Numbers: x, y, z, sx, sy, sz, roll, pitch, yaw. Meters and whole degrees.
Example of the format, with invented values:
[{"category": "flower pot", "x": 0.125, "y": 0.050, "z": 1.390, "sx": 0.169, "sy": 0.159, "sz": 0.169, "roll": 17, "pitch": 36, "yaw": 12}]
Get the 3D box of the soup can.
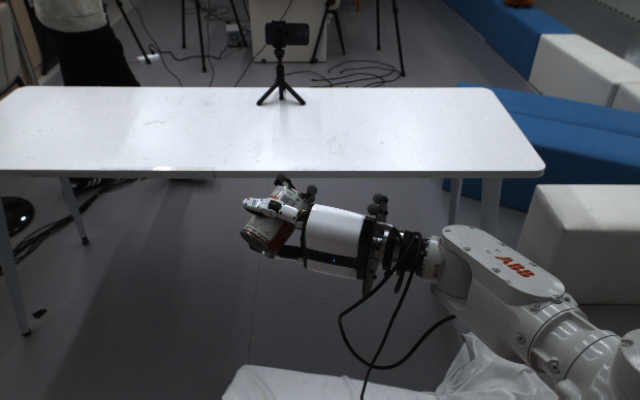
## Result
[{"category": "soup can", "x": -0.071, "y": 0.035, "z": 0.775, "sx": 0.067, "sy": 0.067, "sz": 0.101, "roll": 25, "pitch": 66, "yaw": 30}]
